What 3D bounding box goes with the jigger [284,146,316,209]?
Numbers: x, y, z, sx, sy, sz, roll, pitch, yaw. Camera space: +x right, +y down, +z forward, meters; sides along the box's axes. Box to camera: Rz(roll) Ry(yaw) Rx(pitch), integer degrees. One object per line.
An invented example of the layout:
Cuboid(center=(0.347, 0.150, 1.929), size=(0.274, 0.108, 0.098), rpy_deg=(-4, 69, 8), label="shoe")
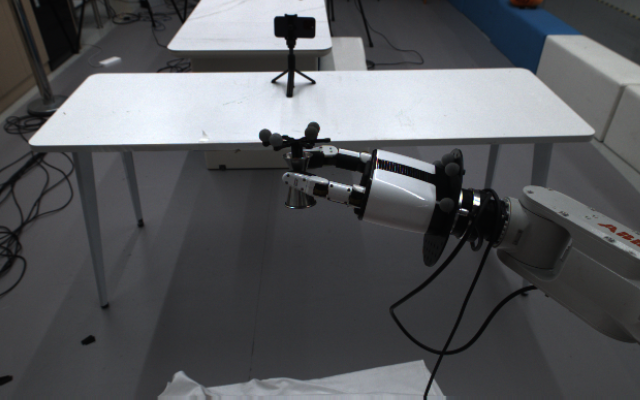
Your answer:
Cuboid(center=(-0.028, -0.027, 0.644), size=(0.043, 0.071, 0.043), rpy_deg=(-2, 19, 1), label="jigger")
